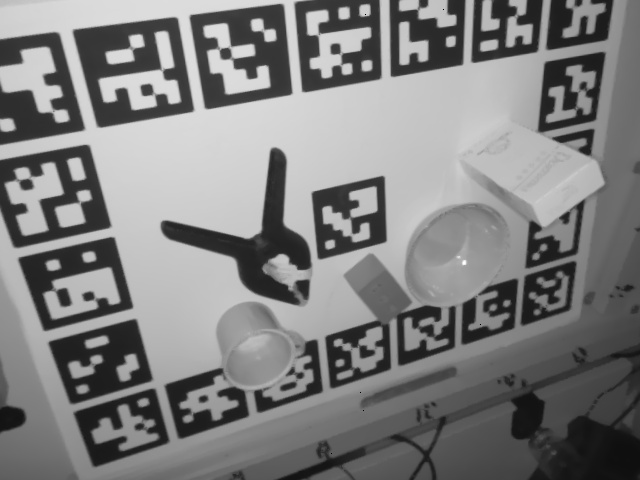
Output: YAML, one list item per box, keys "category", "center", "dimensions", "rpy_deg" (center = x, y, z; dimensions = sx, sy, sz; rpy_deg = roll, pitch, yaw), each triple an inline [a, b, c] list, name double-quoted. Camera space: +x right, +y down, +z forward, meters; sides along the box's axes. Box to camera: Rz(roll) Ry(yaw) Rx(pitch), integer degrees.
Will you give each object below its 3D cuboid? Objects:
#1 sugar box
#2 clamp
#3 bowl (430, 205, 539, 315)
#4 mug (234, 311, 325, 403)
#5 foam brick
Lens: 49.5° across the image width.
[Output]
- category: "sugar box"
  center: [0.280, -0.091, 0.831]
  dimensions: [0.093, 0.176, 0.045]
  rpy_deg: [-36, 120, 1]
- category: "clamp"
  center: [-0.042, 0.016, 0.830]
  dimensions: [0.166, 0.036, 0.203]
  rpy_deg: [-37, 121, -4]
- category: "bowl"
  center: [0.208, 0.018, 0.925]
  dimensions: [0.163, 0.055, 0.160]
  rpy_deg: [-9, 117, -16]
- category: "mug"
  center: [-0.051, 0.144, 0.866]
  dimensions: [0.118, 0.081, 0.092]
  rpy_deg: [11, 110, -21]
- category: "foam brick"
  center: [0.099, 0.068, 0.915]
  dimensions: [0.053, 0.051, 0.078]
  rpy_deg: [-40, 121, 0]
